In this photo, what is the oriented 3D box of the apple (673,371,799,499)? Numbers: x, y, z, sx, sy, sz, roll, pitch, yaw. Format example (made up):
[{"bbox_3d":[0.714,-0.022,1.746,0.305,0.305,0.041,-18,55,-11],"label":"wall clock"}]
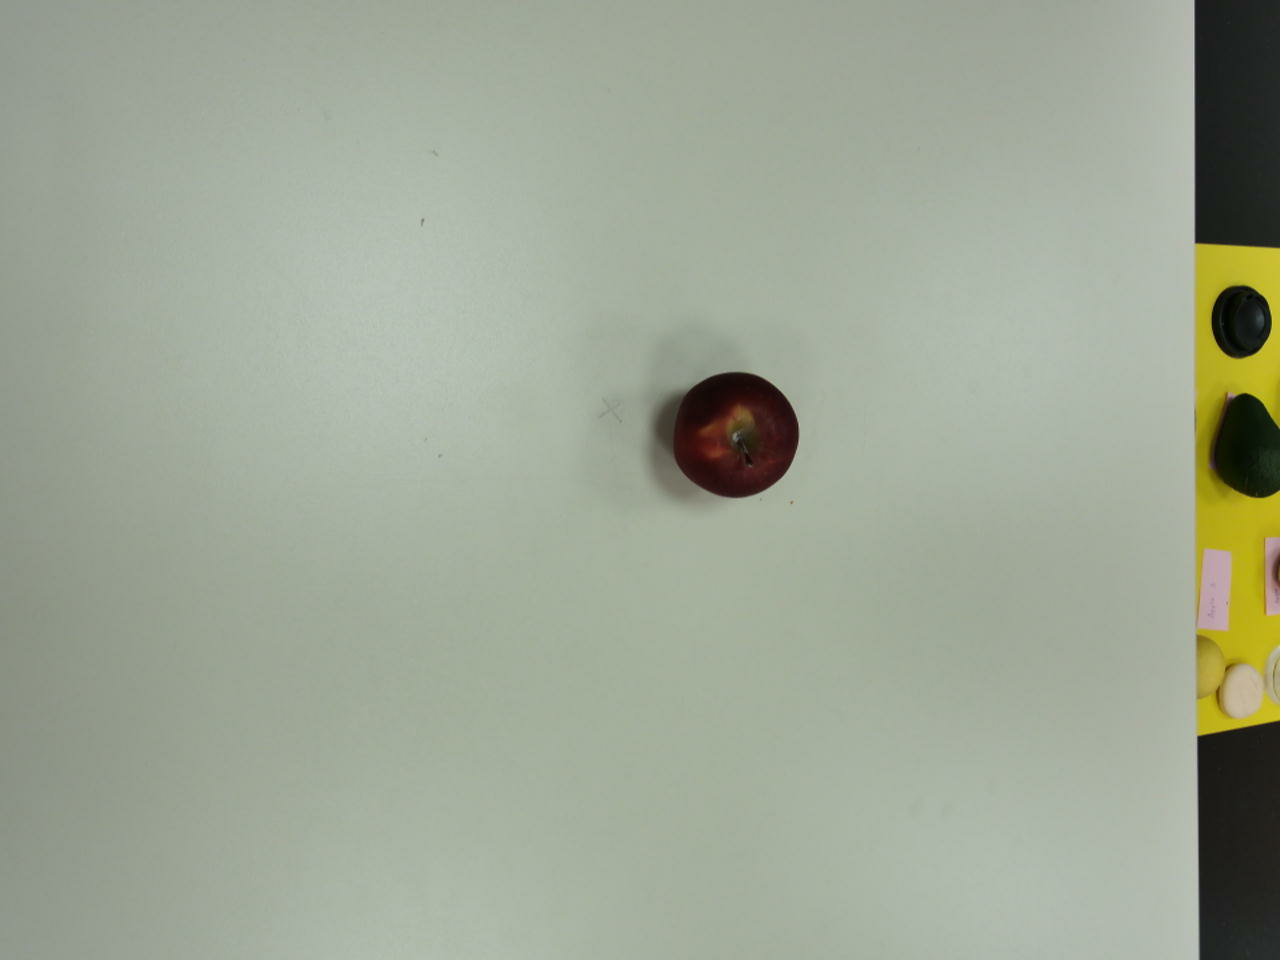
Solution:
[{"bbox_3d":[0.052,-0.025,0.552,0.070,0.072,0.070,0,90,-22],"label":"apple"}]
